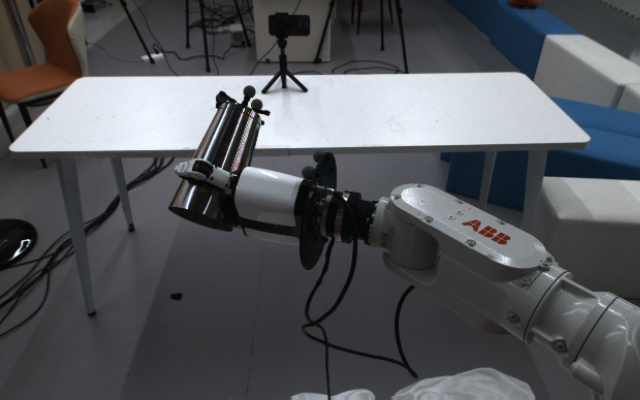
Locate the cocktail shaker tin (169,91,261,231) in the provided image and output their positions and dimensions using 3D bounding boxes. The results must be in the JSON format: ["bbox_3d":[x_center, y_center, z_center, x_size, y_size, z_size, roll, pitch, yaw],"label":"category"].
[{"bbox_3d":[-0.145,-0.050,0.691,0.093,0.093,0.170,14,72,16],"label":"cocktail shaker tin"}]
